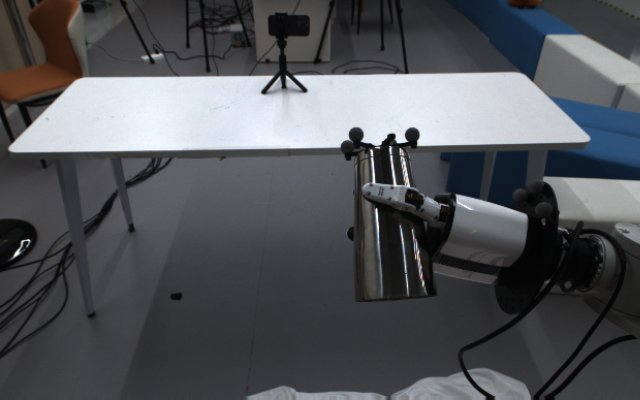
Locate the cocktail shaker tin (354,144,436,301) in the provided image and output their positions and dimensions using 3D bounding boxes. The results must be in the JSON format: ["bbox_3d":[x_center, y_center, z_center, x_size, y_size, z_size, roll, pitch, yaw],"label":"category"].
[{"bbox_3d":[0.081,0.029,0.562,0.093,0.093,0.170,-3,76,-8],"label":"cocktail shaker tin"}]
